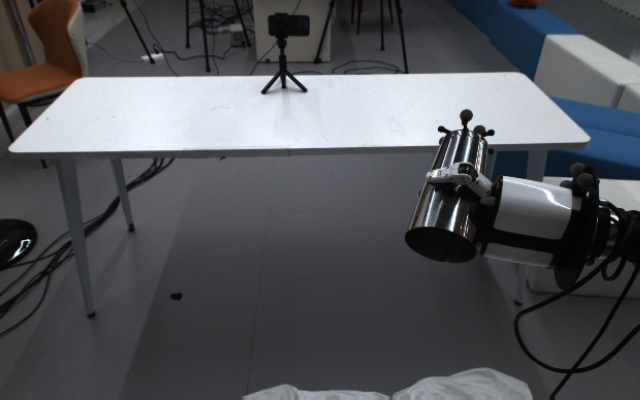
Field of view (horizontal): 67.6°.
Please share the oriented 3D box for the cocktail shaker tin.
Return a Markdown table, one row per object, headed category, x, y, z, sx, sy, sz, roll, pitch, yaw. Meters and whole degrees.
| category | x | y | z | sx | sy | sz | roll | pitch | yaw |
| --- | --- | --- | --- | --- | --- | --- | --- | --- | --- |
| cocktail shaker tin | 0.180 | -0.012 | 0.656 | 0.093 | 0.093 | 0.170 | 14 | 60 | 17 |
